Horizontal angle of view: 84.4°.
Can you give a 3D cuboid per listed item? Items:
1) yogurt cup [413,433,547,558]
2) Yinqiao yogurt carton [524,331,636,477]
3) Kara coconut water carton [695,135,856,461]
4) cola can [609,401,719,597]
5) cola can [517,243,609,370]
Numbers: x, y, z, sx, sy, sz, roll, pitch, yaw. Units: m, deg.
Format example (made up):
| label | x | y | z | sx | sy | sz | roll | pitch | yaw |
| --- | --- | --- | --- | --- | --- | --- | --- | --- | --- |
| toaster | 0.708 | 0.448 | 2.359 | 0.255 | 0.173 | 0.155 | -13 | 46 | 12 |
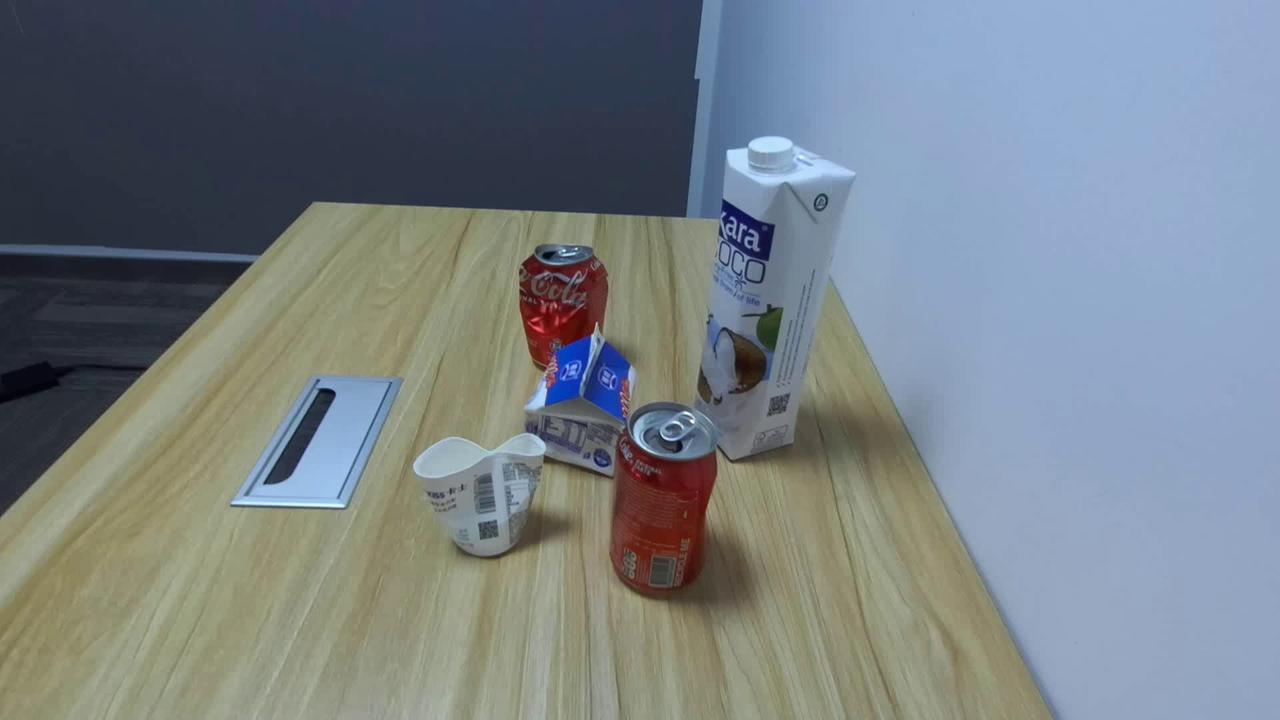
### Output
| label | x | y | z | sx | sy | sz | roll | pitch | yaw |
| --- | --- | --- | --- | --- | --- | --- | --- | --- | --- |
| yogurt cup | -0.105 | 0.088 | 0.477 | 0.053 | 0.071 | 0.076 | 33 | 45 | 32 |
| Yinqiao yogurt carton | -0.045 | 0.028 | 0.549 | 0.080 | 0.097 | 0.074 | 12 | 36 | -1 |
| Kara coconut water carton | 0.094 | -0.043 | 0.533 | 0.075 | 0.245 | 0.076 | -13 | 36 | -25 |
| cola can | 0.013 | 0.086 | 0.449 | 0.065 | 0.117 | 0.072 | 0 | 34 | -4 |
| cola can | -0.067 | -0.048 | 0.646 | 0.069 | 0.112 | 0.066 | 27 | 39 | 32 |
